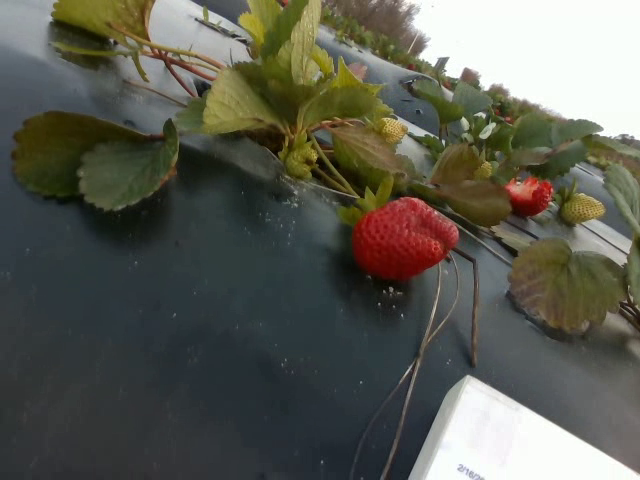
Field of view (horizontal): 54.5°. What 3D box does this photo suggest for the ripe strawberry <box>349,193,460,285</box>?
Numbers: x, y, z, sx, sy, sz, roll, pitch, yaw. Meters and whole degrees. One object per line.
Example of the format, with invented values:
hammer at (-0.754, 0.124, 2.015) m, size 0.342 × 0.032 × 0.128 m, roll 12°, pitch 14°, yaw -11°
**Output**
ripe strawberry at (0.011, 0.000, 0.077) m, size 0.017 × 0.014 × 0.015 m, roll -30°, pitch 24°, yaw -27°
